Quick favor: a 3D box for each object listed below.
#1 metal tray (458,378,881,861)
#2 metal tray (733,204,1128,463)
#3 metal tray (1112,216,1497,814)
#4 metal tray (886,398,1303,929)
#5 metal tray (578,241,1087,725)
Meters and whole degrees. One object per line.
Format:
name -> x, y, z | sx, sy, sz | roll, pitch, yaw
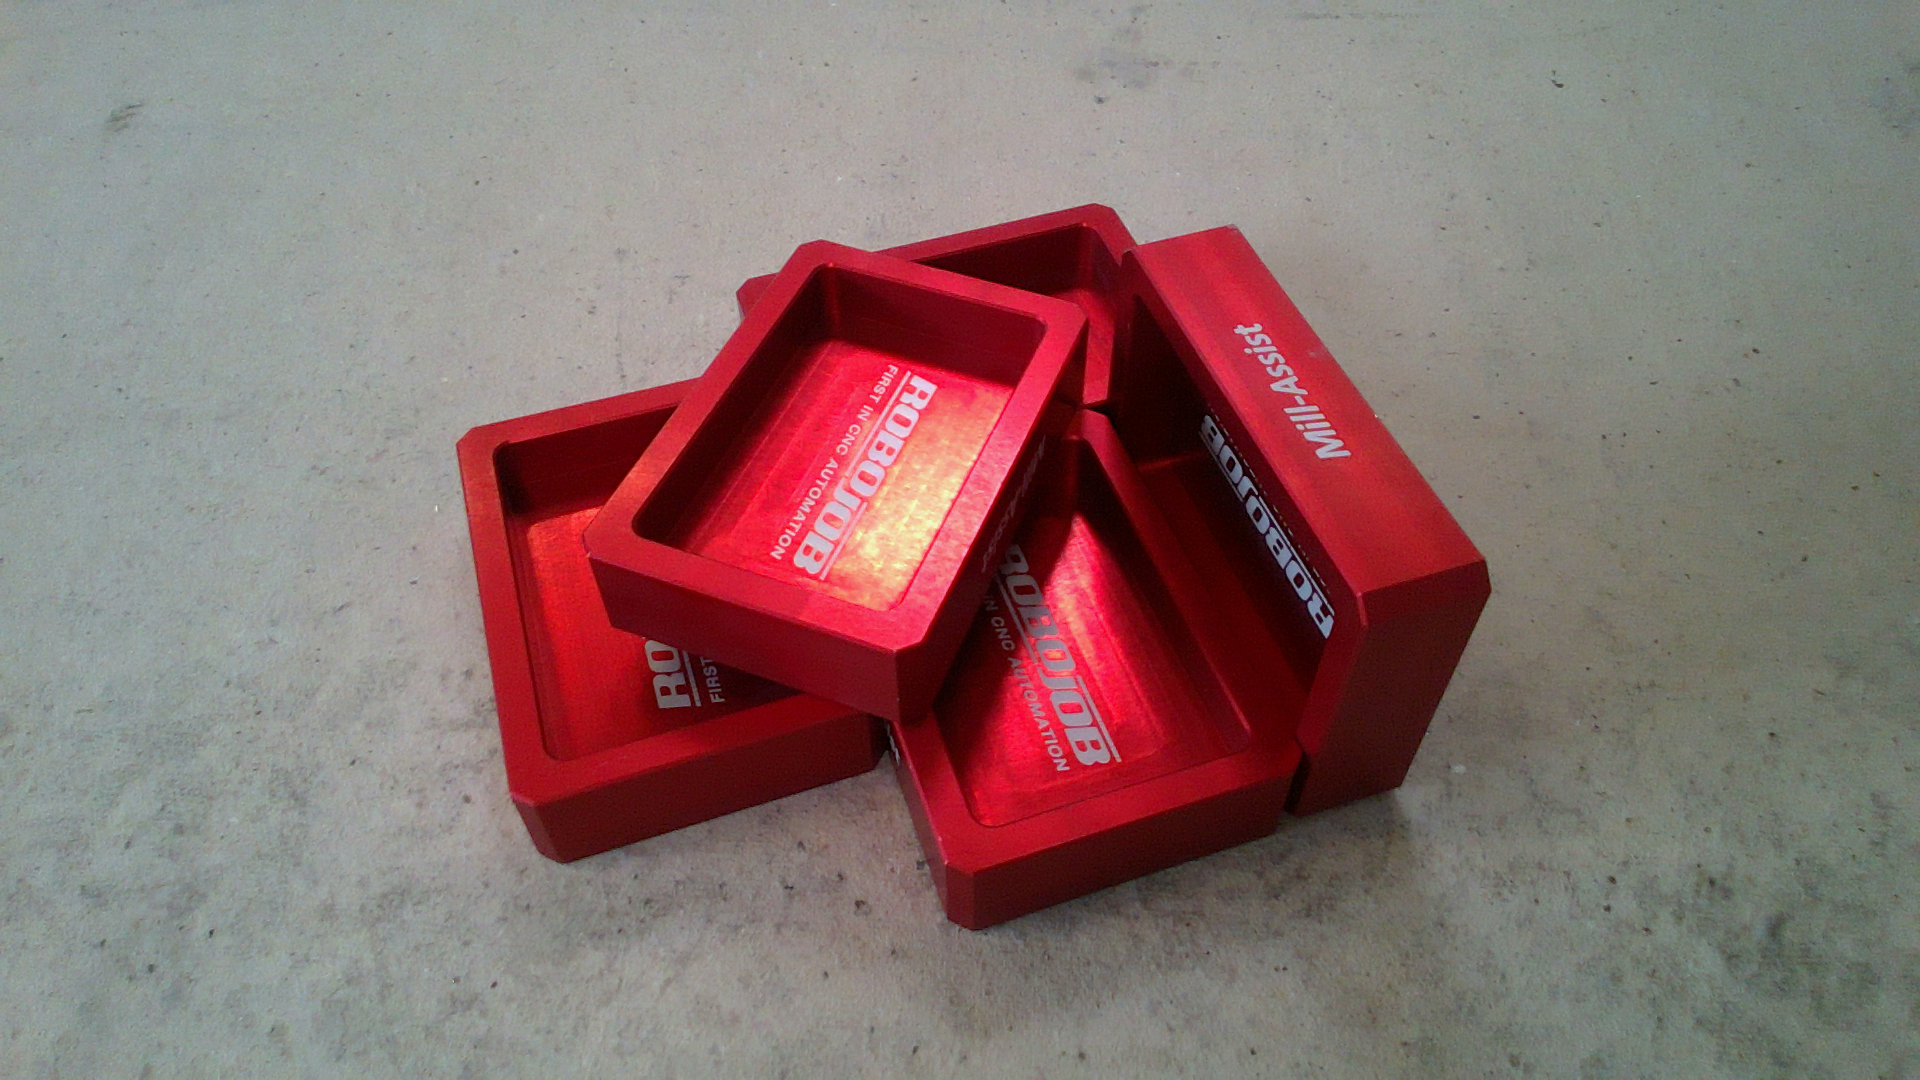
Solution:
metal tray -> -0.082, 0.013, 0.376 | 0.090, 0.030, 0.130 | -15, 51, -12
metal tray -> 0.002, -0.057, 0.438 | 0.130, 0.030, 0.090 | -15, 51, -11
metal tray -> 0.078, -0.008, 0.354 | 0.030, 0.090, 0.130 | -14, 52, -12
metal tray -> 0.020, 0.026, 0.364 | 0.090, 0.030, 0.130 | -16, 53, -11
metal tray -> -0.028, -0.022, 0.369 | 0.090, 0.030, 0.130 | 17, 52, 14
